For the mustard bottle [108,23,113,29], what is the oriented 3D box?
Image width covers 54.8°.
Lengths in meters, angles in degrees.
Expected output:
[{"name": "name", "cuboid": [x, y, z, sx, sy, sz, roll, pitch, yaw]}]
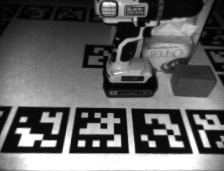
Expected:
[{"name": "mustard bottle", "cuboid": [0.037, -0.234, 0.564, 0.096, 0.192, 0.058, 10, 49, 7]}]

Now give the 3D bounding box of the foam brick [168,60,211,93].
[{"name": "foam brick", "cuboid": [0.170, -0.019, 0.486, 0.078, 0.051, 0.052, 3, 49, -1]}]

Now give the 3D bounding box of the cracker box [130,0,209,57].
[{"name": "cracker box", "cuboid": [0.123, -0.162, 0.496, 0.164, 0.215, 0.071, -2, 46, -2]}]

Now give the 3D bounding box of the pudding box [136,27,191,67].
[{"name": "pudding box", "cuboid": [0.114, -0.090, 0.502, 0.114, 0.090, 0.038, 0, 46, 0]}]

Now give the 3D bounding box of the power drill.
[{"name": "power drill", "cuboid": [0.053, -0.092, 0.407, 0.185, 0.188, 0.057, 0, 44, -4]}]
